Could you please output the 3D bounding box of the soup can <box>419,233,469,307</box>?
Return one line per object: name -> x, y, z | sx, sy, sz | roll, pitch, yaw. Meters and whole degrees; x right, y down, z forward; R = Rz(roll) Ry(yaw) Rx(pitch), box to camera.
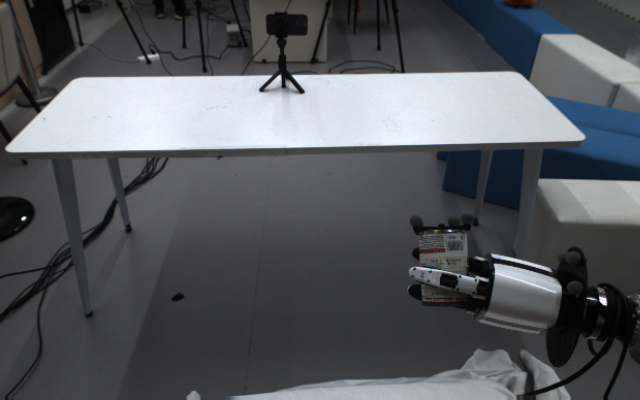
soup can -> 0.175, 0.095, 0.672 | 0.067, 0.101, 0.067 | -1, -9, 0
